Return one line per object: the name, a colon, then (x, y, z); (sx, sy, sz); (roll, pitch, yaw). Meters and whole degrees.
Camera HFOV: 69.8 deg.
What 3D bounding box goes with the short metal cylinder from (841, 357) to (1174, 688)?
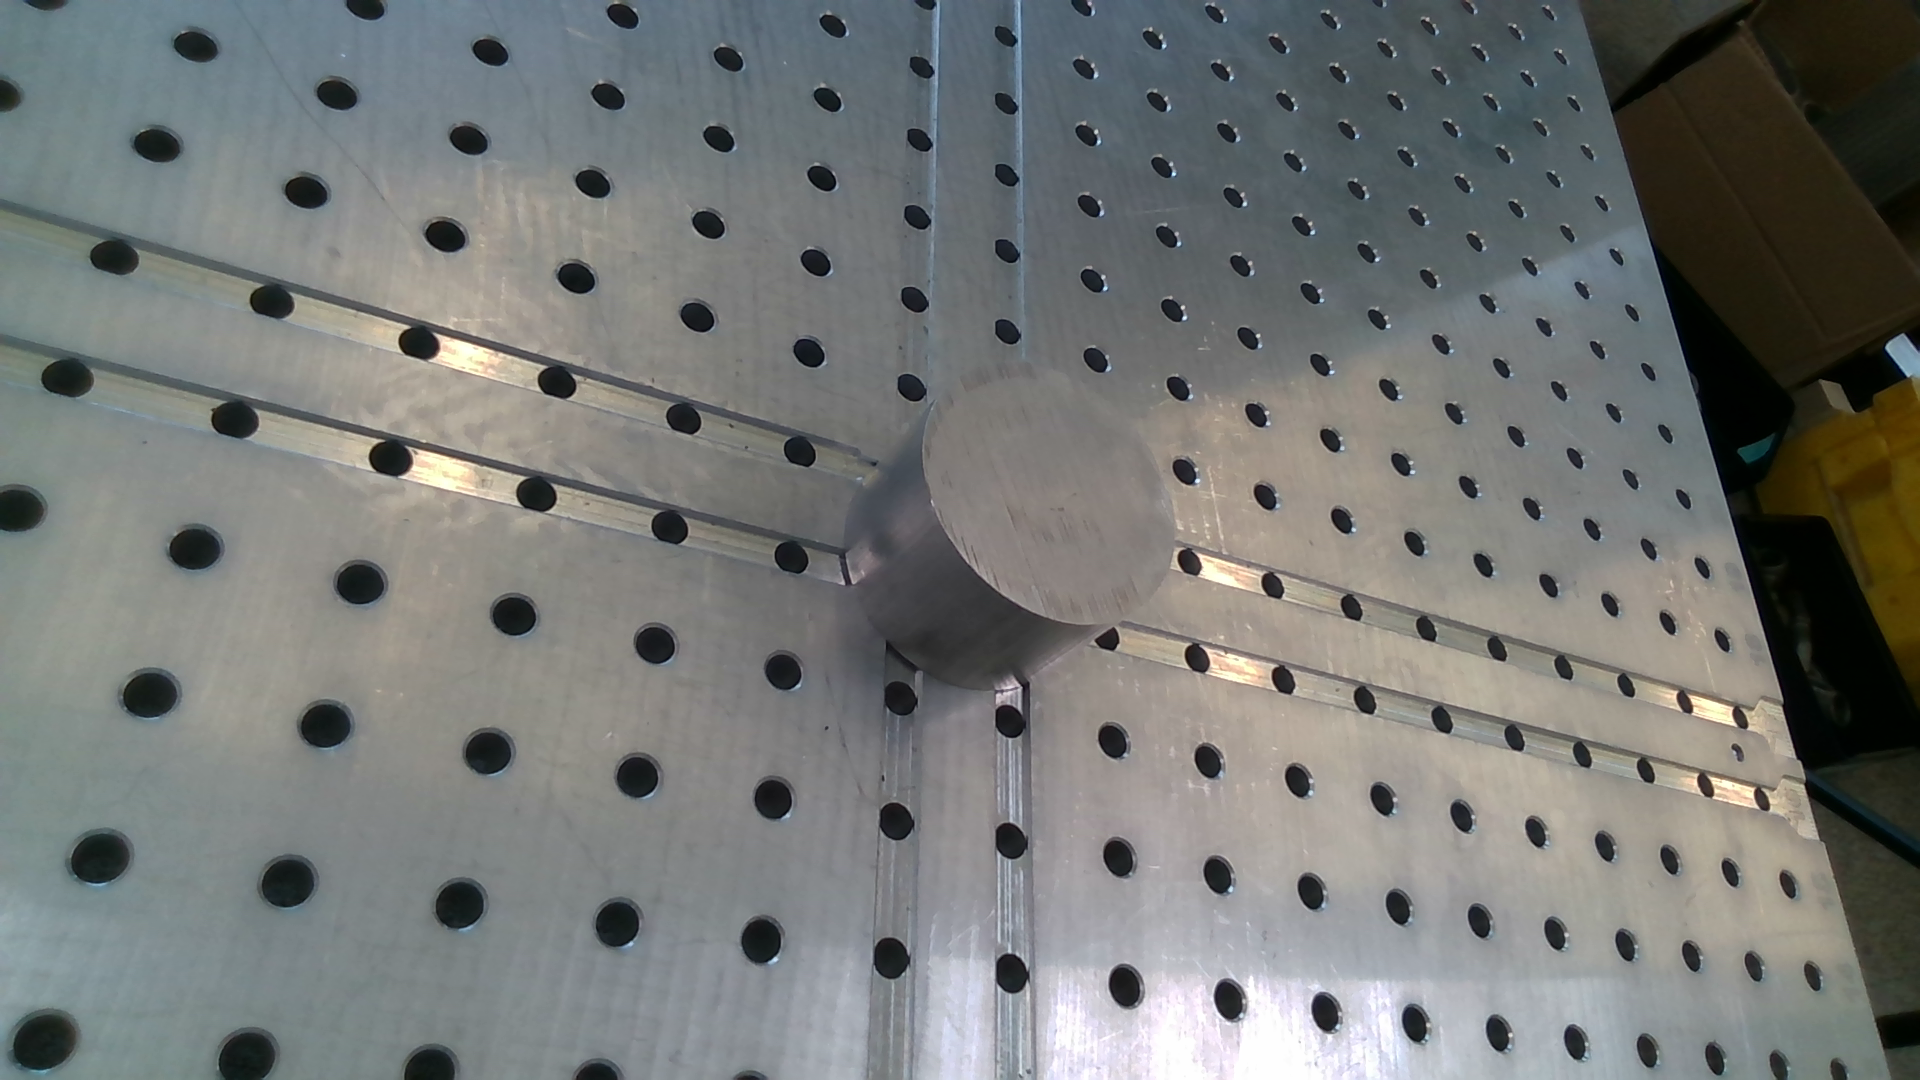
short metal cylinder: (0.013, -0.004, 0.390); (0.080, 0.050, 0.080); (14, 59, -25)
